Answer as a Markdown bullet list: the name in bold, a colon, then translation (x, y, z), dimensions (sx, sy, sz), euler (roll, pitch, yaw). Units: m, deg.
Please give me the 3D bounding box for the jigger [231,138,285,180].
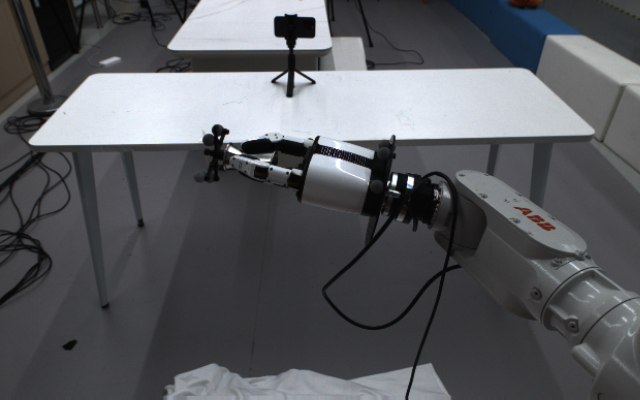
- **jigger**: translation (-0.091, -0.058, 0.679), dimensions (0.071, 0.043, 0.043), euler (11, 35, 5)
